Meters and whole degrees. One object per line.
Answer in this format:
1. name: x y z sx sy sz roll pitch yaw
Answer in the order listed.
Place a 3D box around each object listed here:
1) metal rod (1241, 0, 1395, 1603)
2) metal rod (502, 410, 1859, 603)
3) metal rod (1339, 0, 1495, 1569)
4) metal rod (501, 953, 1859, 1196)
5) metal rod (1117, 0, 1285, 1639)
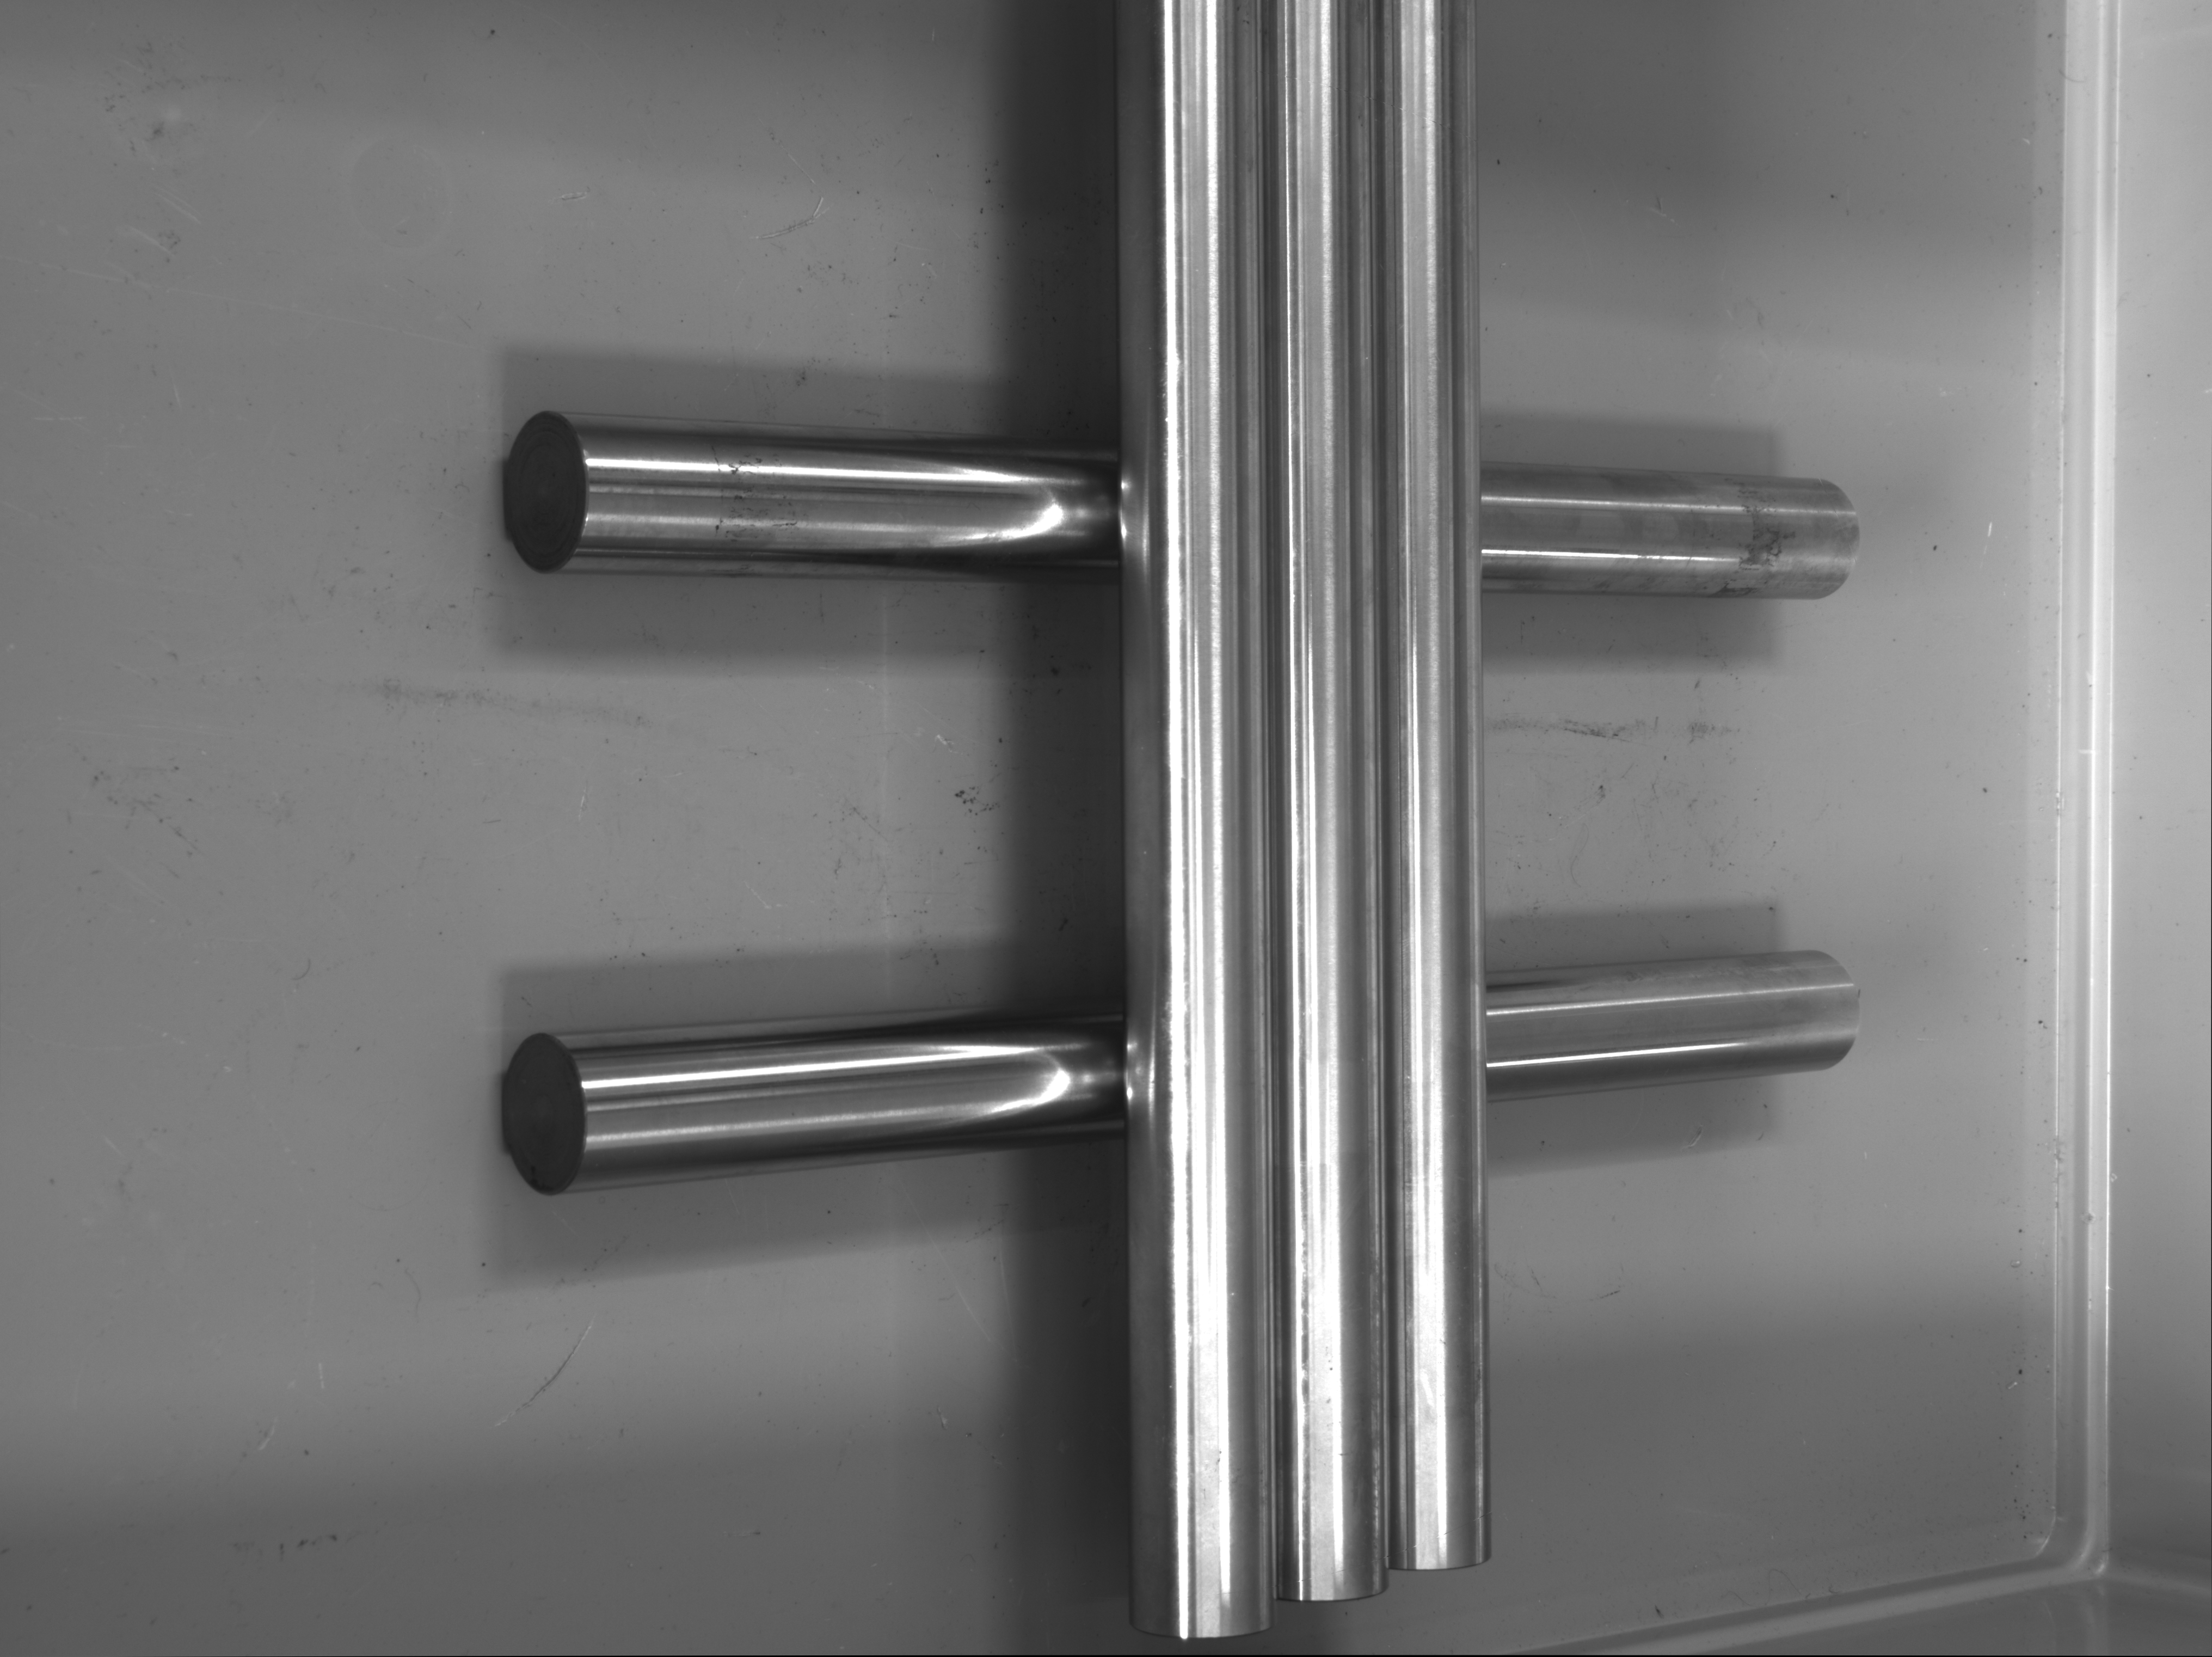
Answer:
1. metal rod: 0.035 -0.019 0.630 0.025 0.025 0.300 -1 91 -40
2. metal rod: 0.029 -0.055 0.659 0.301 0.025 0.025 -2 91 -40
3. metal rod: 0.054 -0.022 0.646 0.025 0.025 0.300 -1 91 -40
4. metal rod: 0.029 0.041 0.659 0.301 0.025 0.025 -2 91 -40
5. metal rod: 0.016 -0.017 0.614 0.025 0.025 0.300 -1 91 -40
